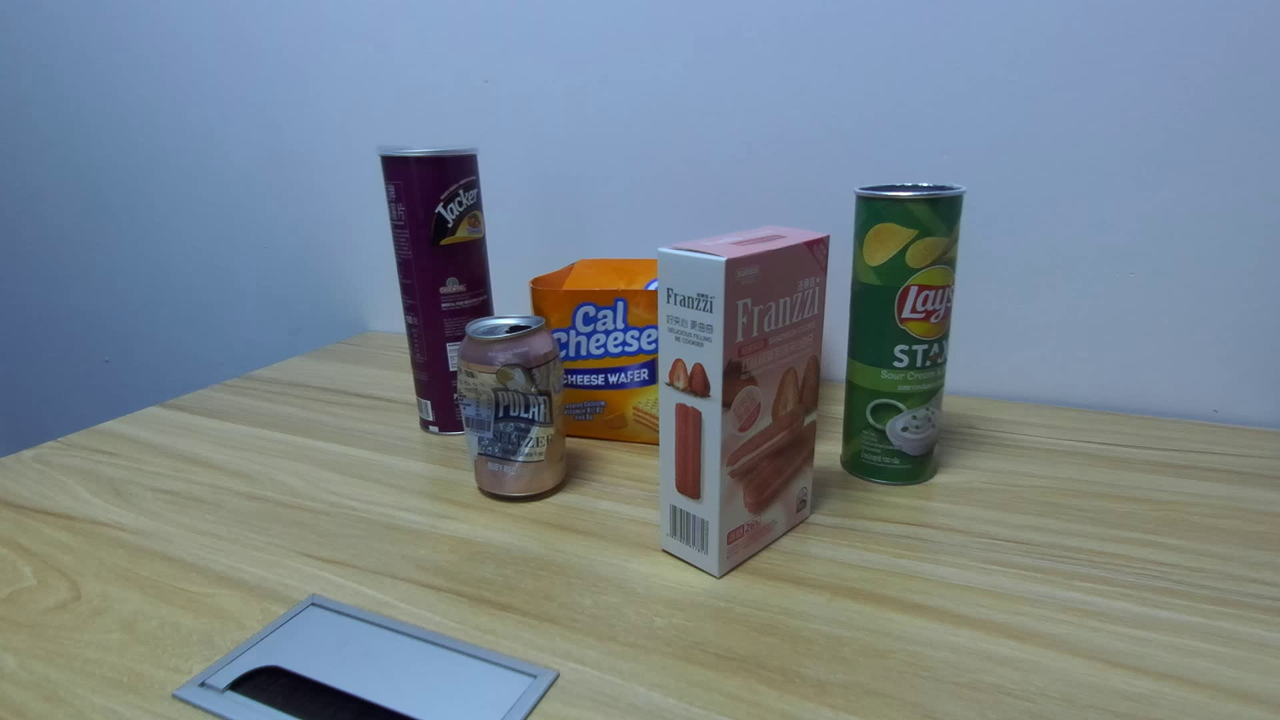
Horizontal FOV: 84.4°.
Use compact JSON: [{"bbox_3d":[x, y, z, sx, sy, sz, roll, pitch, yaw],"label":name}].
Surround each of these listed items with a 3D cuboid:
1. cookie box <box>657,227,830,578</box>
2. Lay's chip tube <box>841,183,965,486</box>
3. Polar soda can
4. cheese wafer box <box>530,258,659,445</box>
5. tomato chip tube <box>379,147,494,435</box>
[{"bbox_3d":[0.060,0.022,0.410,0.048,0.184,0.096,17,26,42],"label":"cookie box"},{"bbox_3d":[0.179,-0.018,0.491,0.071,0.202,0.071,-2,18,1],"label":"Lay's chip tube"},{"bbox_3d":[-0.088,0.034,0.497,0.067,0.122,0.074,-13,19,-28],"label":"Polar soda can"},{"bbox_3d":[0.028,-0.011,0.609,0.230,0.132,0.152,4,20,16],"label":"cheese wafer box"},{"bbox_3d":[-0.166,-0.057,0.605,0.078,0.234,0.078,-2,16,1],"label":"tomato chip tube"}]
